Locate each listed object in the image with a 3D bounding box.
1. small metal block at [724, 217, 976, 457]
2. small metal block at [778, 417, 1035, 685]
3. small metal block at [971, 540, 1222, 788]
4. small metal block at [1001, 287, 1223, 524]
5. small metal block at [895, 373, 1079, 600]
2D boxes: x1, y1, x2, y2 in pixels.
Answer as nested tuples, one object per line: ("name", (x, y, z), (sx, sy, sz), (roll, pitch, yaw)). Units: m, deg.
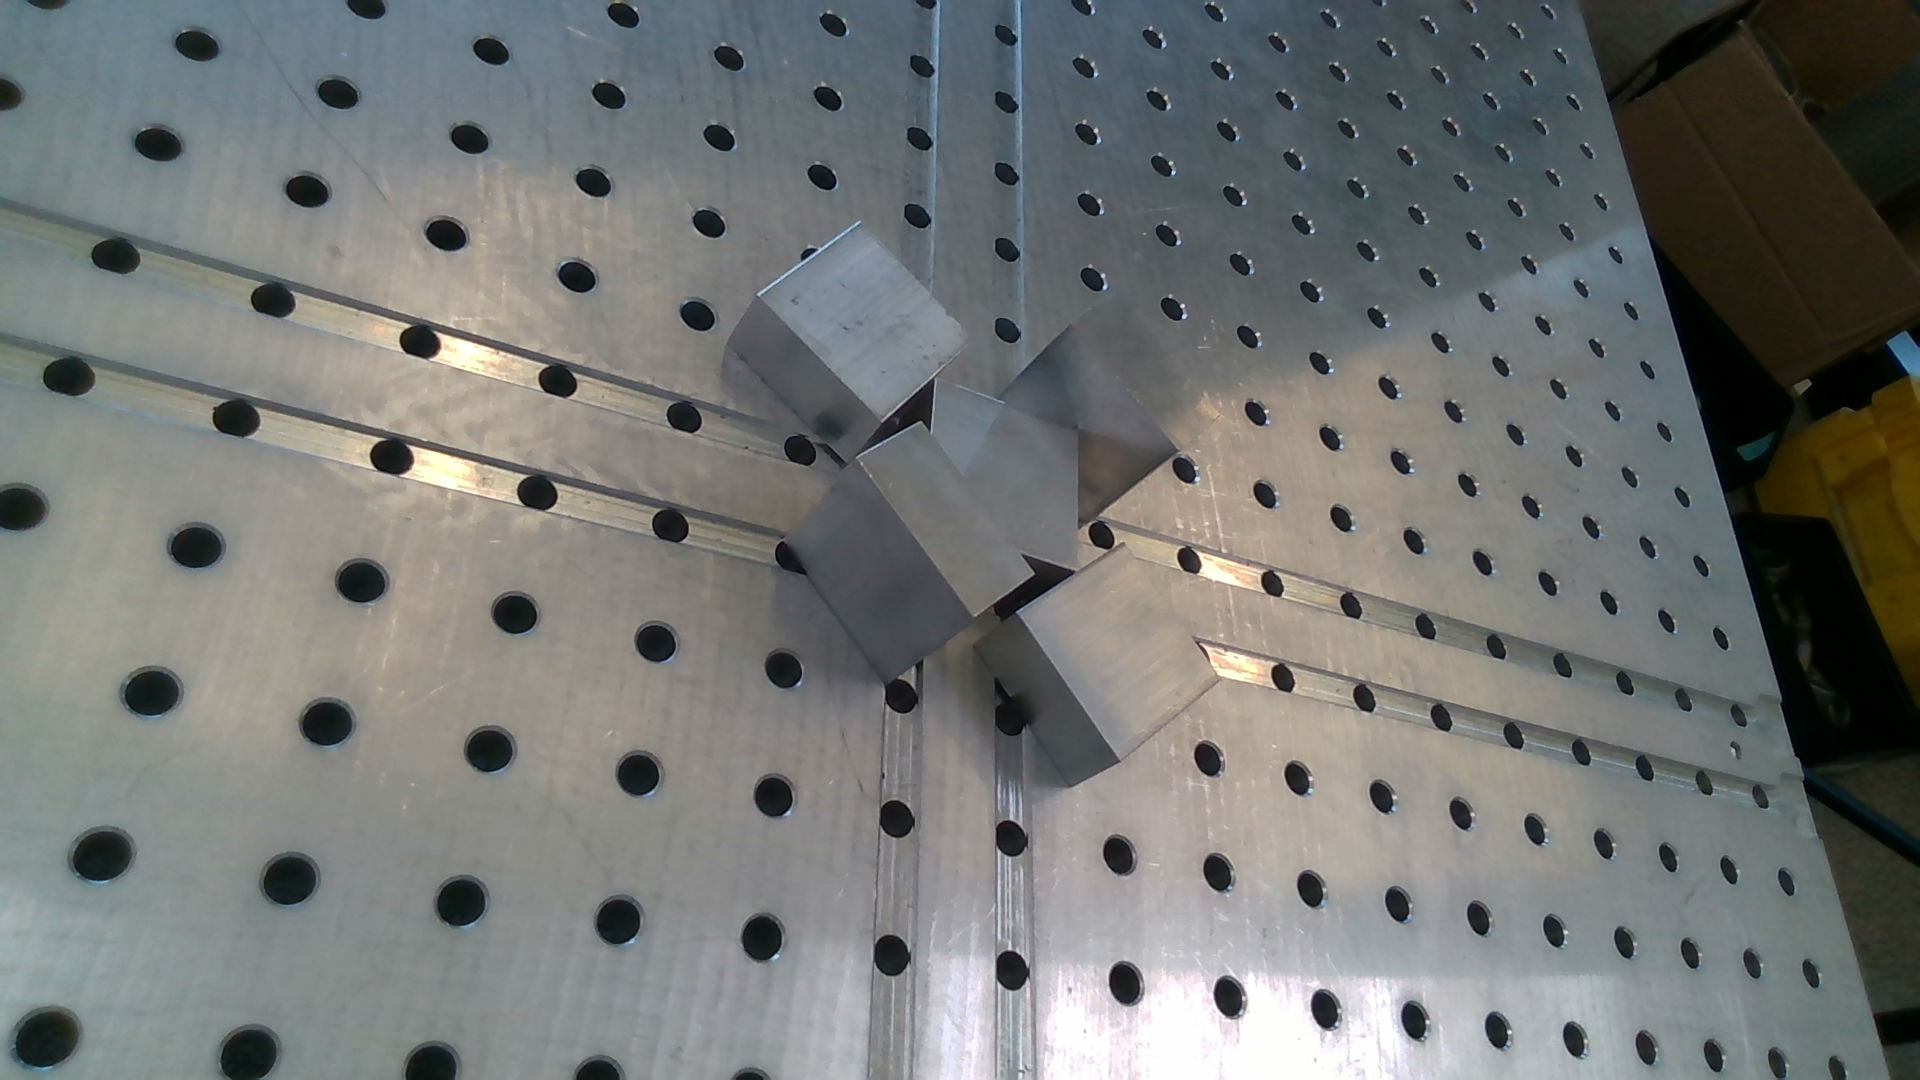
("small metal block", (-0.032, -0.060, 0.408), (0.050, 0.025, 0.050), (46, 51, -3))
("small metal block", (-0.015, 0.004, 0.368), (0.025, 0.050, 0.050), (-33, 85, -39))
("small metal block", (0.040, 0.035, 0.402), (0.050, 0.025, 0.050), (-30, 83, -39))
("small metal block", (0.044, -0.041, 0.429), (0.050, 0.050, 0.025), (50, 51, 2))
("small metal block", (0.007, -0.015, 0.408), (0.050, 0.025, 0.050), (18, 56, -24))
